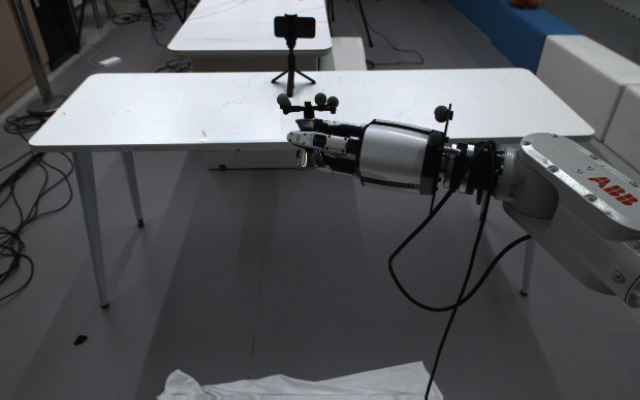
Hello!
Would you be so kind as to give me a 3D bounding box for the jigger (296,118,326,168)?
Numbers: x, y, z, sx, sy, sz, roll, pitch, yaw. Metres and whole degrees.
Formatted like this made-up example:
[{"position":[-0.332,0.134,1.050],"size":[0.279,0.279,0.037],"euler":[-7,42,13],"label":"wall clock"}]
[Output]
[{"position":[-0.015,-0.080,0.693],"size":[0.043,0.071,0.043],"euler":[-2,3,0],"label":"jigger"}]
